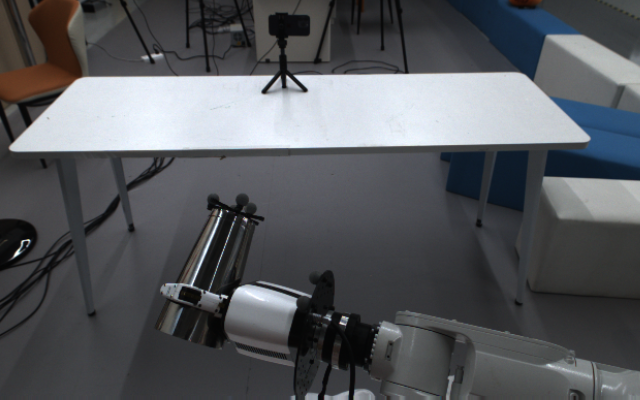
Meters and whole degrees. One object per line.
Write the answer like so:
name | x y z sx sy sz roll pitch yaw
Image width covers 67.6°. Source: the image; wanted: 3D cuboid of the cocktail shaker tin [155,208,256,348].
cocktail shaker tin | -0.147 0.103 0.650 0.093 0.093 0.170 14 73 16
